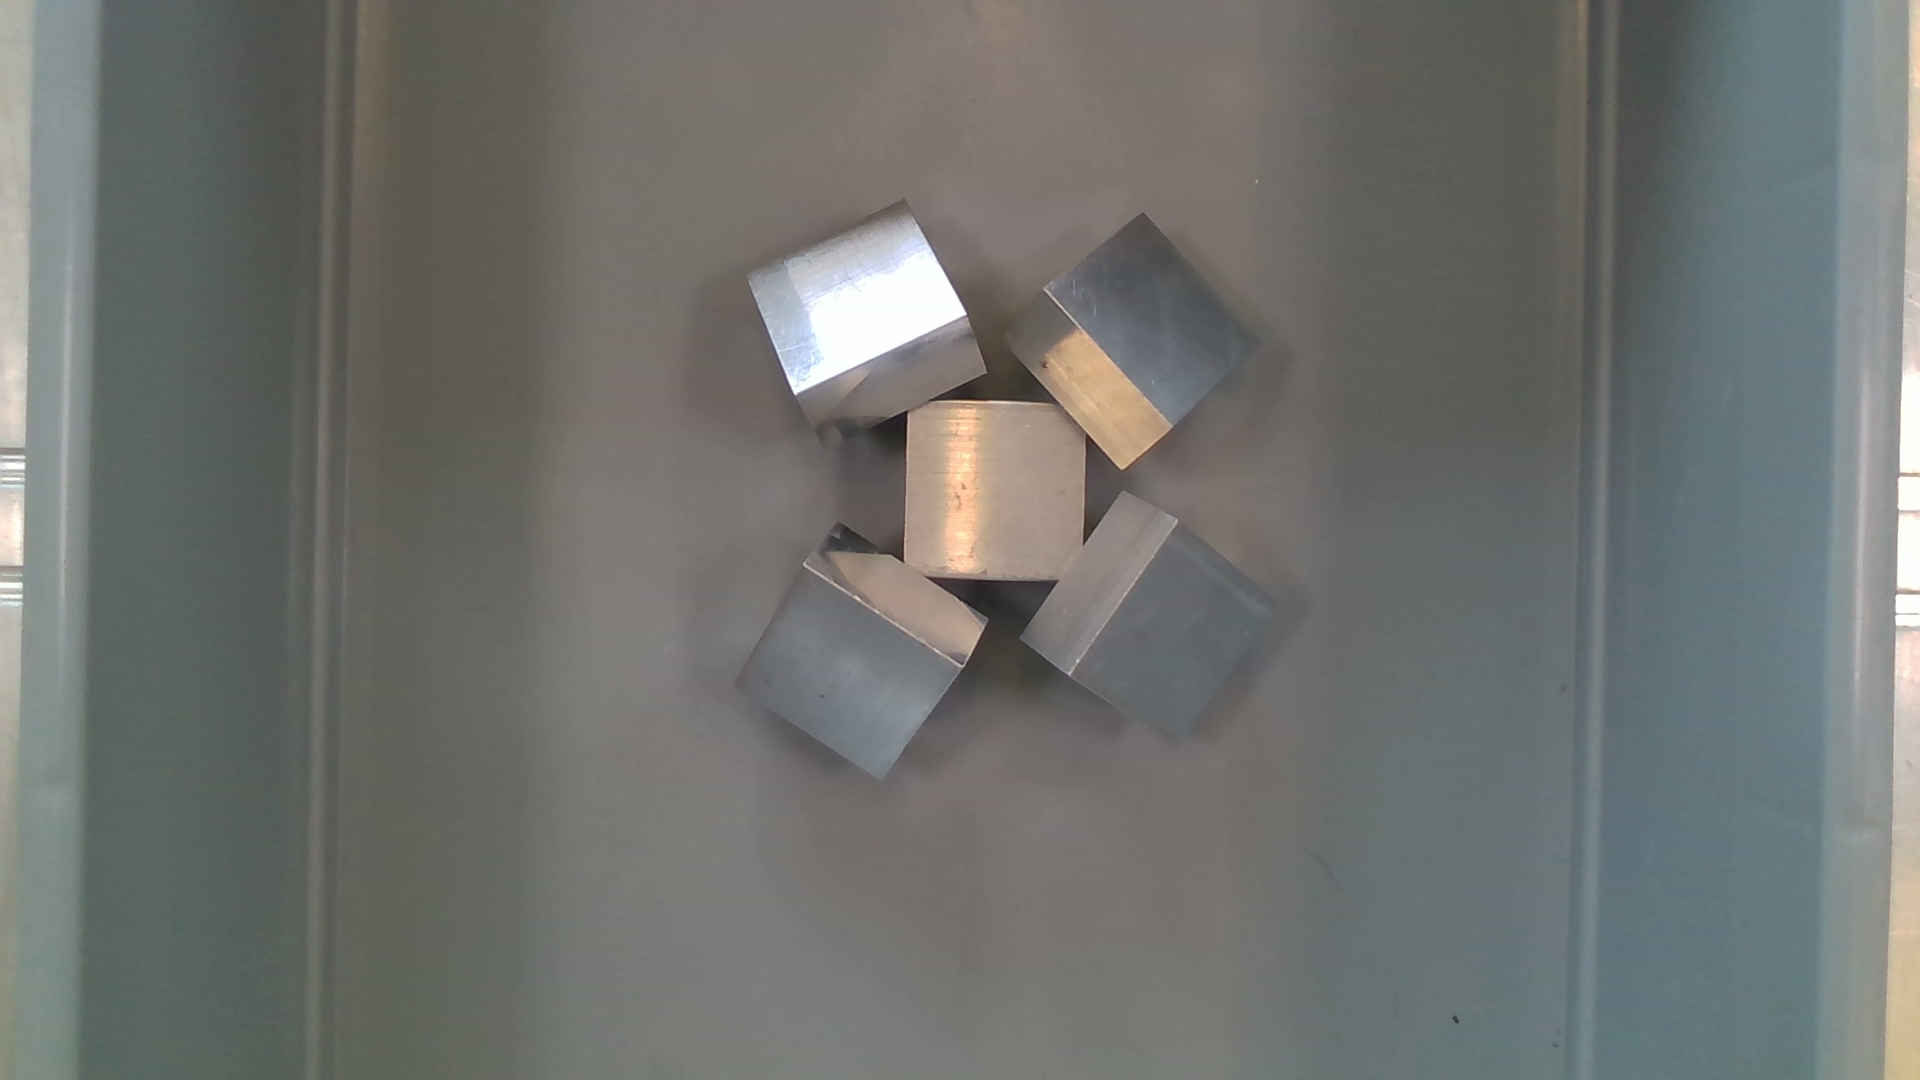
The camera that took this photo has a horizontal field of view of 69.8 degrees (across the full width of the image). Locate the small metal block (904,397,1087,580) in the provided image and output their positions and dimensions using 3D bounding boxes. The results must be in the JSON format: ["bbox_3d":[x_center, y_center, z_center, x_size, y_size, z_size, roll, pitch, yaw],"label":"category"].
[{"bbox_3d":[0.010,-0.014,0.393,0.050,0.025,0.050,2,90,0],"label":"small metal block"}]

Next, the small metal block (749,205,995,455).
[{"bbox_3d":[-0.025,-0.059,0.382,0.050,0.025,0.050,-26,52,0],"label":"small metal block"}]

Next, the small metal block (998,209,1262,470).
[{"bbox_3d":[0.048,-0.056,0.381,0.050,0.025,0.050,47,53,1],"label":"small metal block"}]

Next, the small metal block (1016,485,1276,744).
[{"bbox_3d":[0.052,0.021,0.382,0.050,0.025,0.050,35,91,-37],"label":"small metal block"}]

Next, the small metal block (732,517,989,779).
[{"bbox_3d":[-0.028,0.030,0.383,0.050,0.025,0.050,33,124,0],"label":"small metal block"}]
